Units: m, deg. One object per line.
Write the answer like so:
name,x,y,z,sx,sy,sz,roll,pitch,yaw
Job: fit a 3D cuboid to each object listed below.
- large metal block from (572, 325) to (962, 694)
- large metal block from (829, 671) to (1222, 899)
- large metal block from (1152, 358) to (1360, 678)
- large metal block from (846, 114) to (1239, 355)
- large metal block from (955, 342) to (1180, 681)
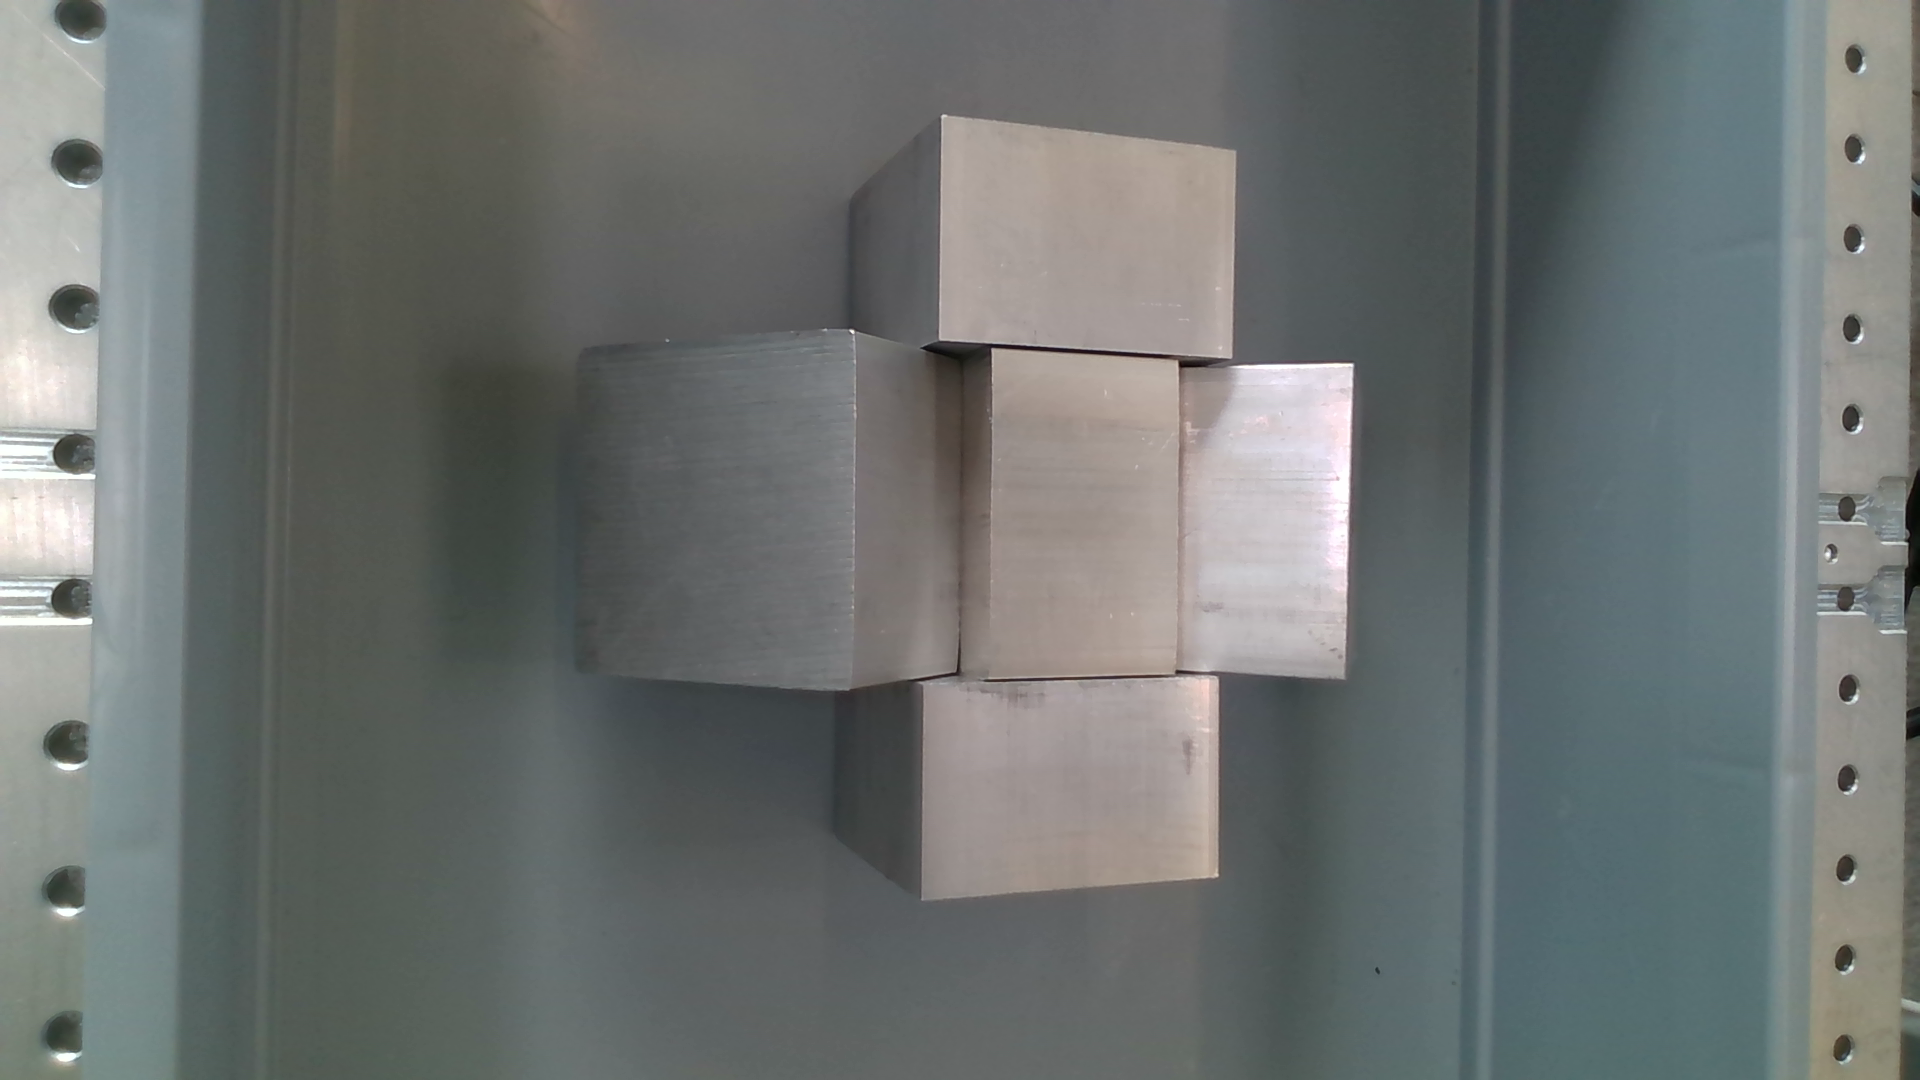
large metal block,-0.047,-0.007,0.339,0.050,0.080,0.080,-1,92,-62
large metal block,0.014,0.059,0.369,0.080,0.080,0.050,1,90,-20
large metal block,0.085,-0.005,0.389,0.050,0.080,0.080,1,90,17
large metal block,0.019,-0.073,0.371,0.080,0.080,0.050,1,90,-20
large metal block,0.017,-0.006,0.370,0.050,0.080,0.080,1,90,-20
